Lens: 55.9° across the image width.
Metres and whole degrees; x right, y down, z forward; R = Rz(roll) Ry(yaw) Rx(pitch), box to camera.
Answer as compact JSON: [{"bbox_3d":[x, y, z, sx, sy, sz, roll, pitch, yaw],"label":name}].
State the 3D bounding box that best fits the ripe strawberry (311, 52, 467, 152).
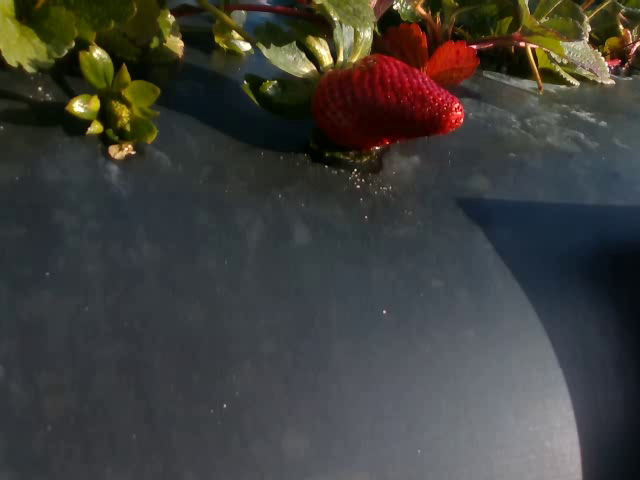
[{"bbox_3d":[0.024,-0.045,0.198,0.056,0.041,0.041,18,-33,35],"label":"ripe strawberry"}]
